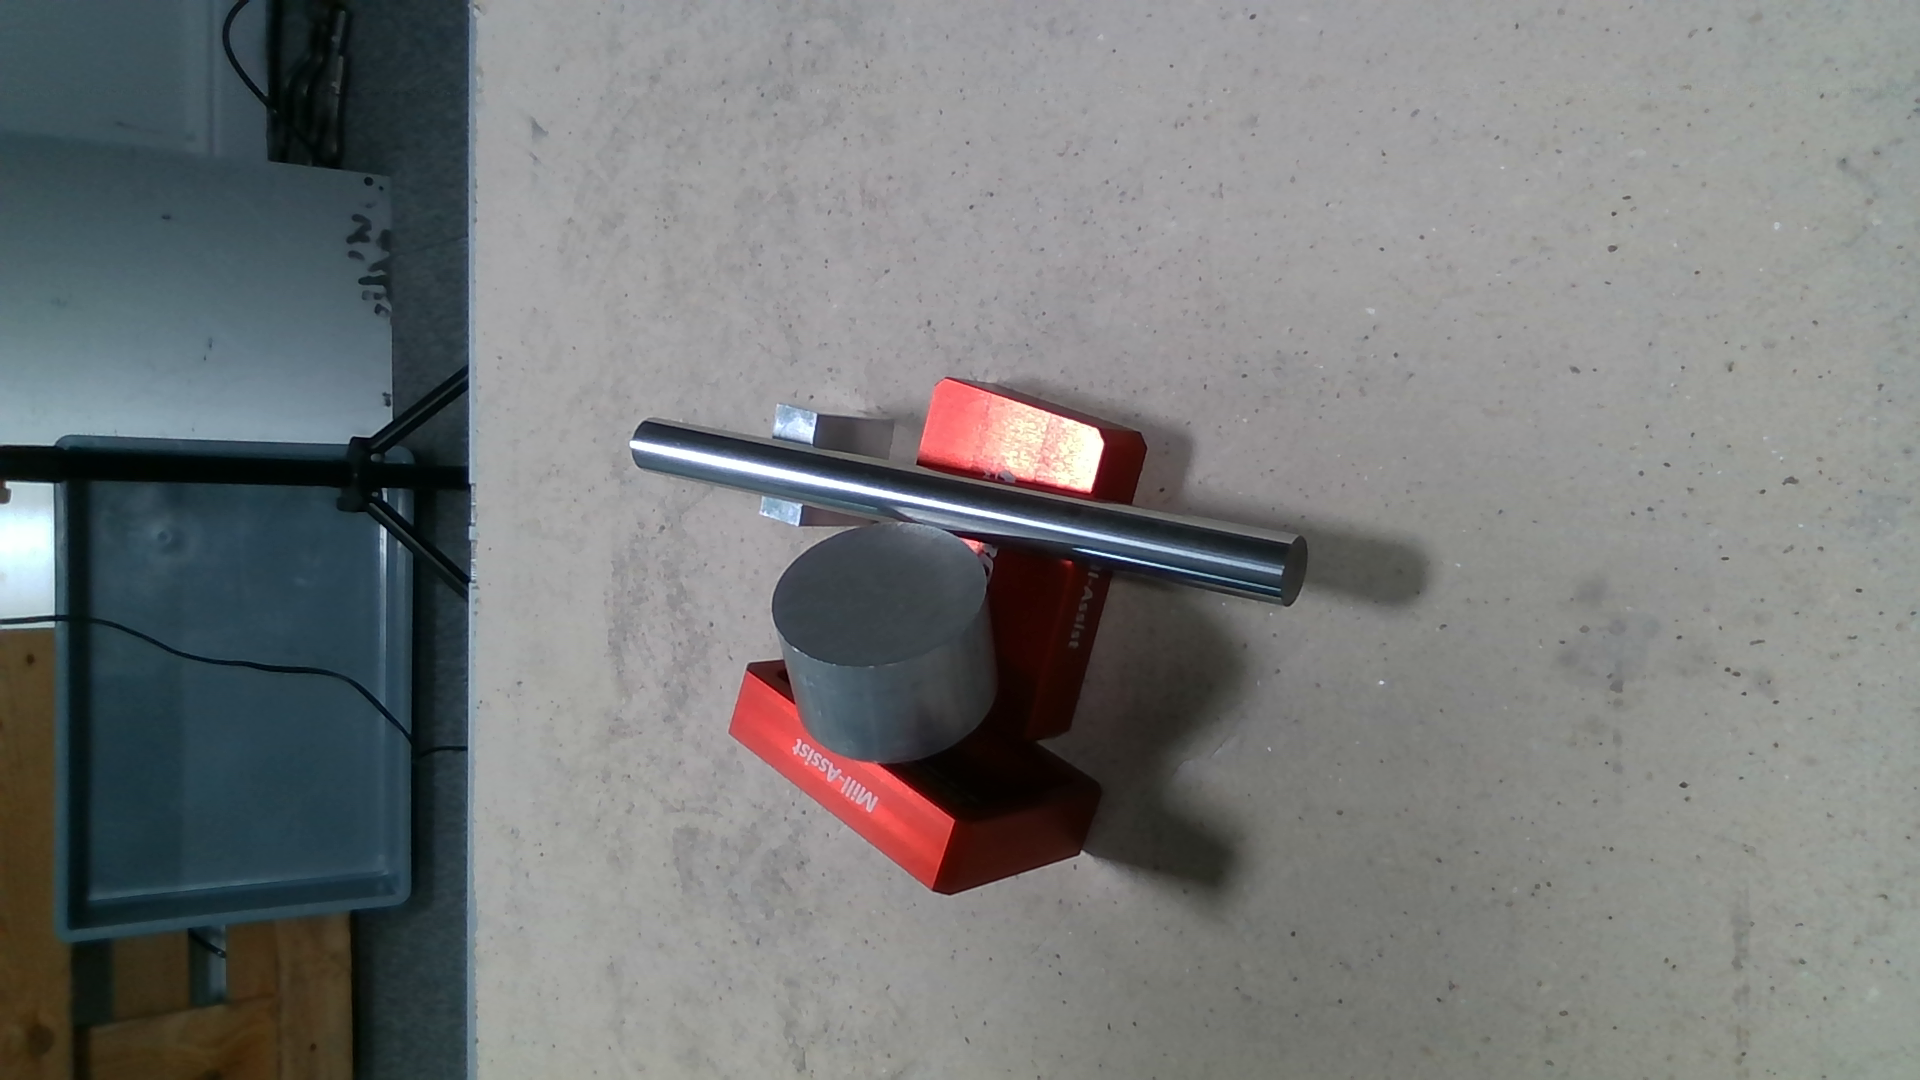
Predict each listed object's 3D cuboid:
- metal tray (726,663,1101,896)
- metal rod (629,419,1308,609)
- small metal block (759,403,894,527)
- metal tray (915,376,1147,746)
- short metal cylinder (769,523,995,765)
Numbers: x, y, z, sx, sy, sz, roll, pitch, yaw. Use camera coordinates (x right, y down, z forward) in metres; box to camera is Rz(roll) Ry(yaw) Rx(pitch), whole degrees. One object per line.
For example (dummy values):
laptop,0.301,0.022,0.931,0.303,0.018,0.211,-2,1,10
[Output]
metal tray,-0.020,0.089,0.557,0.130,0.090,0.030,29,108,36
metal rod,-0.013,-0.015,0.542,0.300,0.025,0.025,12,98,30
small metal block,-0.059,-0.033,0.615,0.025,0.050,0.050,17,101,39
metal tray,0.017,0.007,0.564,0.090,0.030,0.130,23,105,38
short metal cylinder,-0.028,0.038,0.522,0.080,0.080,0.050,29,141,36
